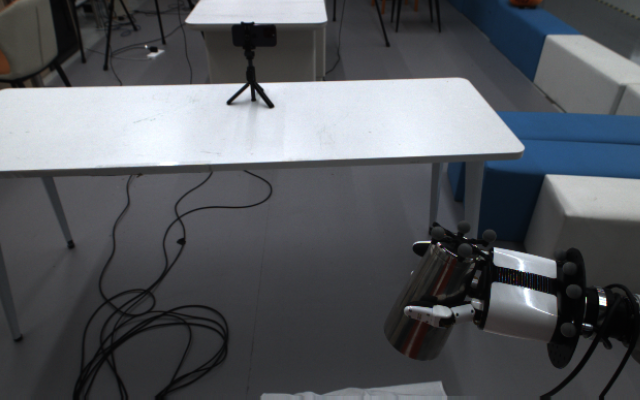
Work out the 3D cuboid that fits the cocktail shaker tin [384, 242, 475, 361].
[{"bbox_3d":[0.162,0.128,0.678,0.093,0.170,0.093,12,29,-7],"label":"cocktail shaker tin"}]
